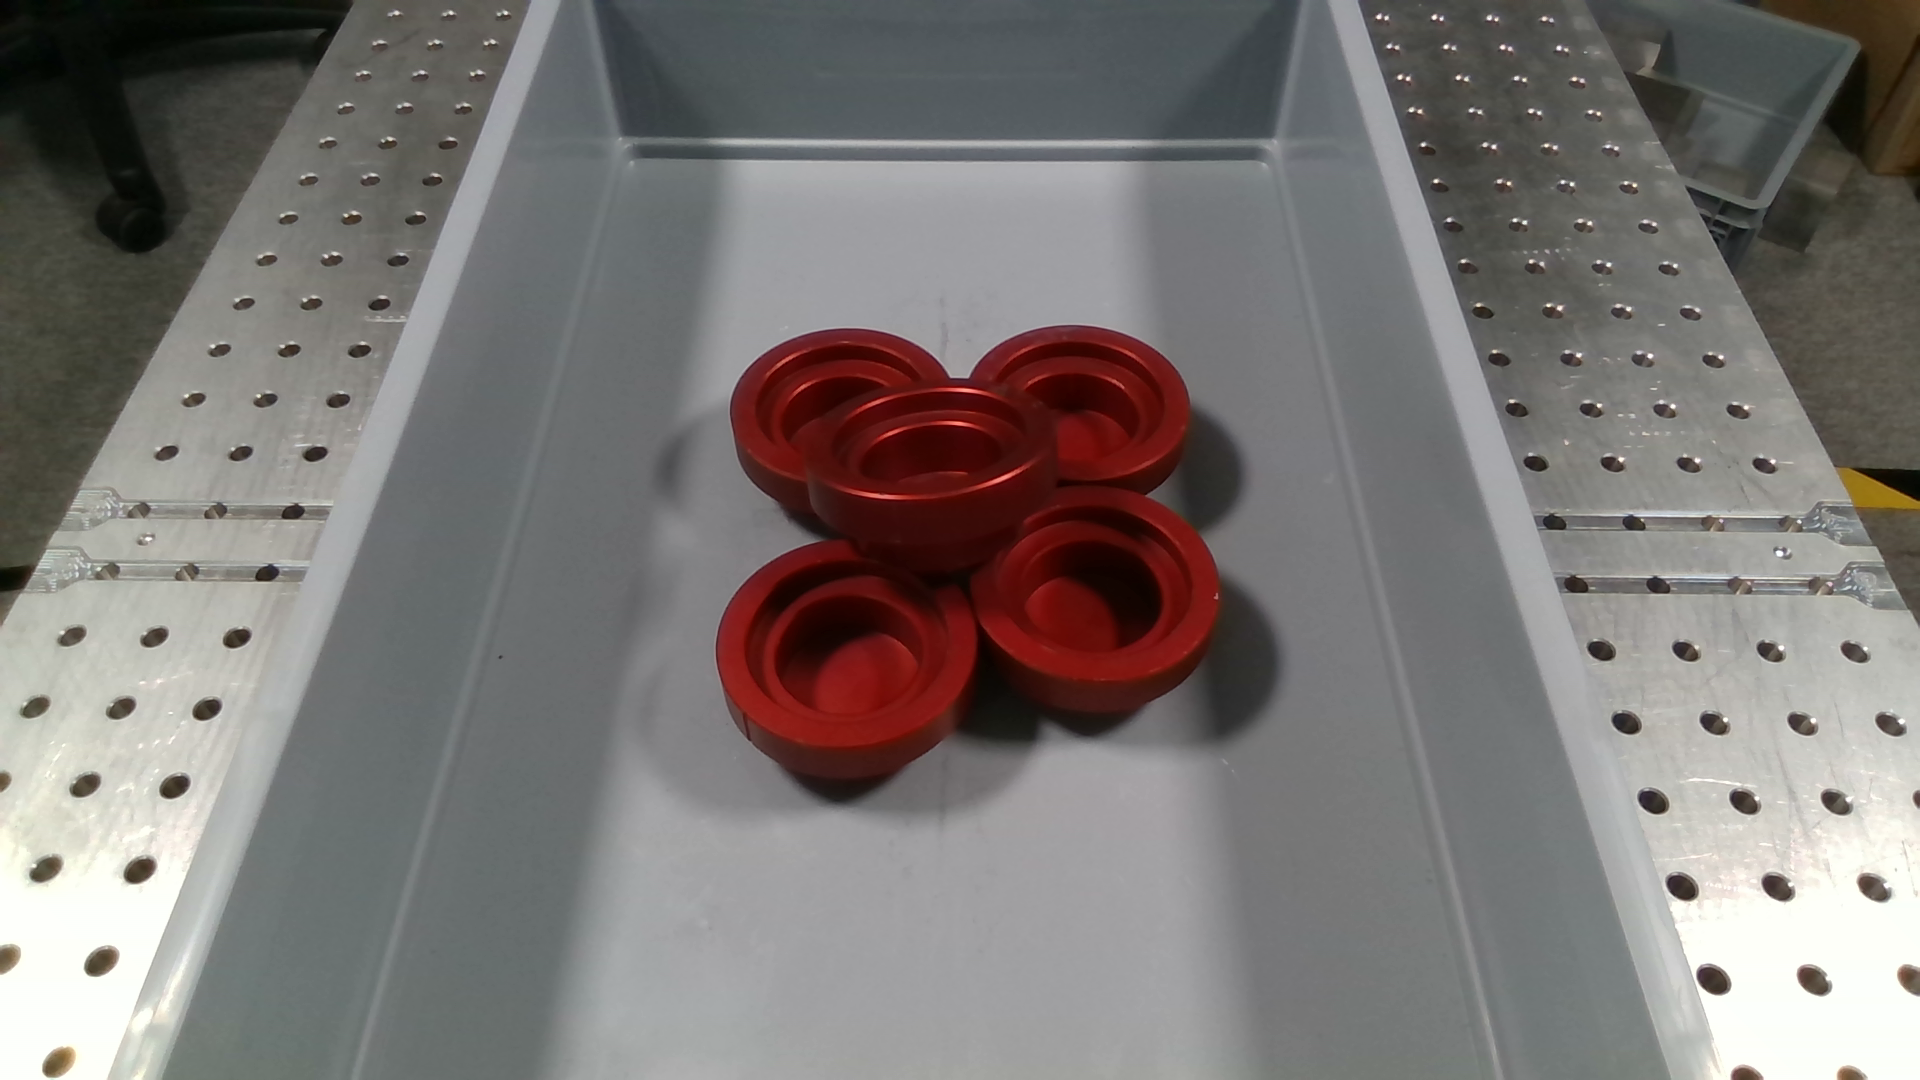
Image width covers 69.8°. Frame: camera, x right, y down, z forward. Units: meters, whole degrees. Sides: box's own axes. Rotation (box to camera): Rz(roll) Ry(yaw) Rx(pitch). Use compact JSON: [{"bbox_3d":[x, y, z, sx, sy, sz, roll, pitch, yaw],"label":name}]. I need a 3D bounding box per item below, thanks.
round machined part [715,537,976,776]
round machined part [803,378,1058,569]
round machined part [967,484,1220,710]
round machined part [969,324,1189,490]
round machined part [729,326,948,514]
[{"bbox_3d":[-0.043,0.049,0.533,0.098,0.042,0.098,0,50,0],"label":"round machined part"},{"bbox_3d":[-0.010,-0.024,0.539,0.098,0.042,0.098,-4,32,3],"label":"round machined part"},{"bbox_3d":[0.052,0.027,0.552,0.098,0.042,0.098,0,50,0],"label":"round machined part"},{"bbox_3d":[0.051,-0.049,0.615,0.098,0.042,0.098,0,50,0],"label":"round machined part"},{"bbox_3d":[-0.051,-0.047,0.614,0.098,0.042,0.098,0,50,0],"label":"round machined part"}]
